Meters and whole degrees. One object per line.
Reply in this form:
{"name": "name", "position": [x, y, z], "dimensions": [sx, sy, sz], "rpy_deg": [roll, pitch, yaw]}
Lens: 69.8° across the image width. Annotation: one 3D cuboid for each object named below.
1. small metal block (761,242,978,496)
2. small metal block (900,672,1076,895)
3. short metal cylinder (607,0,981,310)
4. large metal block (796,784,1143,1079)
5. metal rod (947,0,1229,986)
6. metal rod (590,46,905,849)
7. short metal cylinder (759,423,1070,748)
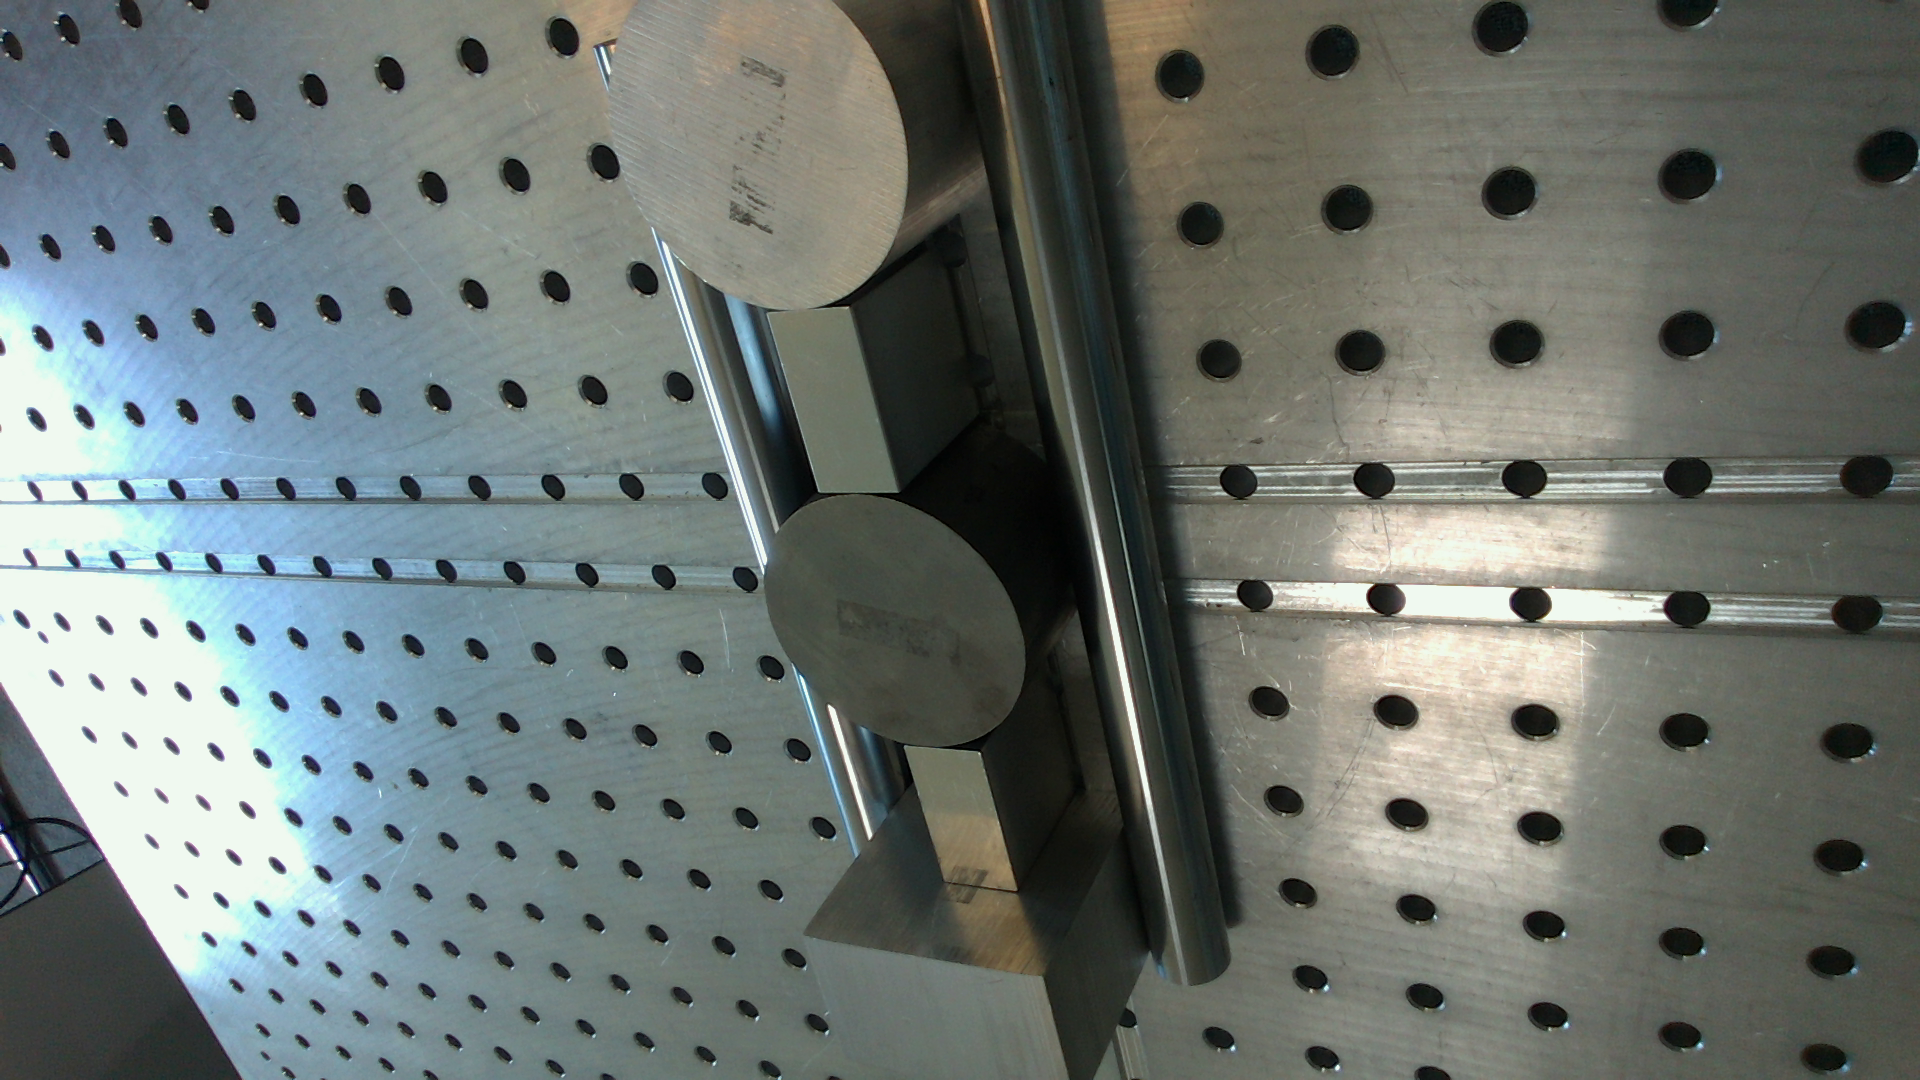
{"name": "small metal block", "position": [-0.022, -0.045, 0.362], "dimensions": [0.025, 0.050, 0.050], "rpy_deg": [1, 119, 28]}
{"name": "small metal block", "position": [0.010, 0.070, 0.416], "dimensions": [0.025, 0.050, 0.050], "rpy_deg": [0, 119, 28]}
{"name": "short metal cylinder", "position": [-0.038, -0.103, 0.336], "dimensions": [0.080, 0.050, 0.080], "rpy_deg": [13, 124, 21]}
{"name": "large metal block", "position": [0.009, 0.120, 0.430], "dimensions": [0.080, 0.080, 0.050], "rpy_deg": [1, 119, 28]}
{"name": "metal rod", "position": [0.040, 0.001, 0.374], "dimensions": [0.025, 0.025, 0.300], "rpy_deg": [1, 119, 28]}
{"name": "metal rod", "position": [-0.052, 0.001, 0.423], "dimensions": [0.025, 0.025, 0.300], "rpy_deg": [1, 119, 28]}
{"name": "short metal cylinder", "position": [-0.010, 0.012, 0.392], "dimensions": [0.080, 0.050, 0.080], "rpy_deg": [13, 124, 21]}
